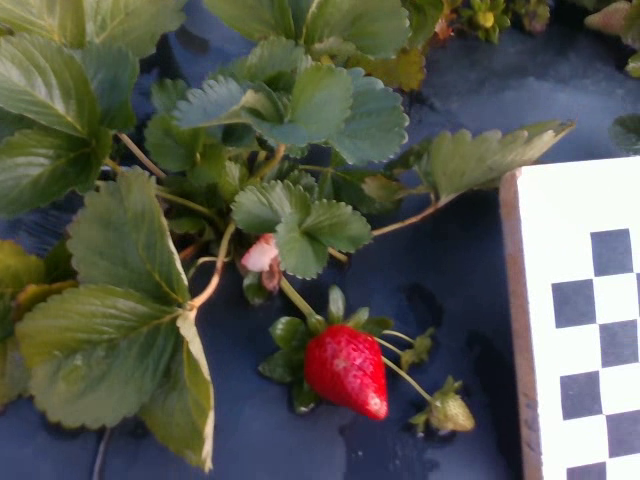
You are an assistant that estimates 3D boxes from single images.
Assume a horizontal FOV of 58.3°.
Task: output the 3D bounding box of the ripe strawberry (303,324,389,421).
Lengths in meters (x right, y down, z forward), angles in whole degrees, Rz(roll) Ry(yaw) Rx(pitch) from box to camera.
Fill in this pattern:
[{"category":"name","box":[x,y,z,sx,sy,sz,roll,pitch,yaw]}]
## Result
[{"category":"ripe strawberry","box":[0.020,0.072,0.288,0.043,0.052,0.057,-32,29,-4]}]
